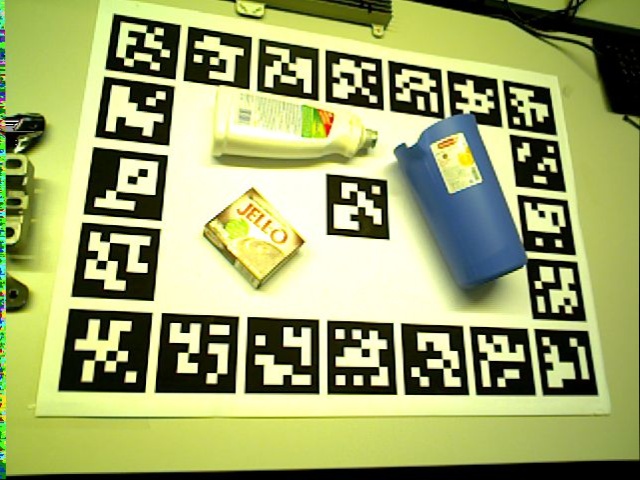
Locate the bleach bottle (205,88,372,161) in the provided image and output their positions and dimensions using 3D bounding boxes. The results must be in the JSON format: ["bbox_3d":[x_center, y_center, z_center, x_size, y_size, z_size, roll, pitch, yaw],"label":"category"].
[{"bbox_3d":[-0.042,-0.159,0.802,0.248,0.069,0.102,3,76,-16],"label":"bleach bottle"}]

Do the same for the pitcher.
[{"bbox_3d":[0.212,-0.040,0.816,0.185,0.136,0.243,-13,80,-55],"label":"pitcher"}]

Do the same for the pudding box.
[{"bbox_3d":[-0.101,0.002,0.743,0.088,0.039,0.114,-41,88,-28],"label":"pudding box"}]
